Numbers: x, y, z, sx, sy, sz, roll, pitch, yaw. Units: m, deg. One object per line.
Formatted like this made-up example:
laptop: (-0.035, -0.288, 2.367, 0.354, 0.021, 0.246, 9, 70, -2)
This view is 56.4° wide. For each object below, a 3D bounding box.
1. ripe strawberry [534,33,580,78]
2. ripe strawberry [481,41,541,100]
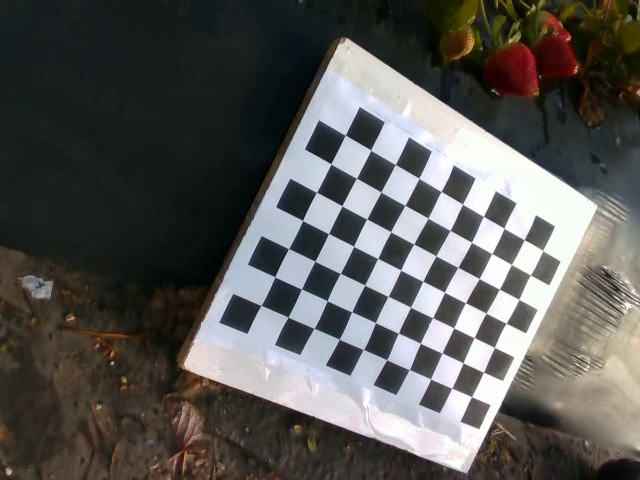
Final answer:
ripe strawberry: (0.232, -0.176, 0.586, 0.055, 0.044, 0.042, 46, -11, 32)
ripe strawberry: (0.175, -0.148, 0.527, 0.050, 0.050, 0.065, -15, 49, -15)
